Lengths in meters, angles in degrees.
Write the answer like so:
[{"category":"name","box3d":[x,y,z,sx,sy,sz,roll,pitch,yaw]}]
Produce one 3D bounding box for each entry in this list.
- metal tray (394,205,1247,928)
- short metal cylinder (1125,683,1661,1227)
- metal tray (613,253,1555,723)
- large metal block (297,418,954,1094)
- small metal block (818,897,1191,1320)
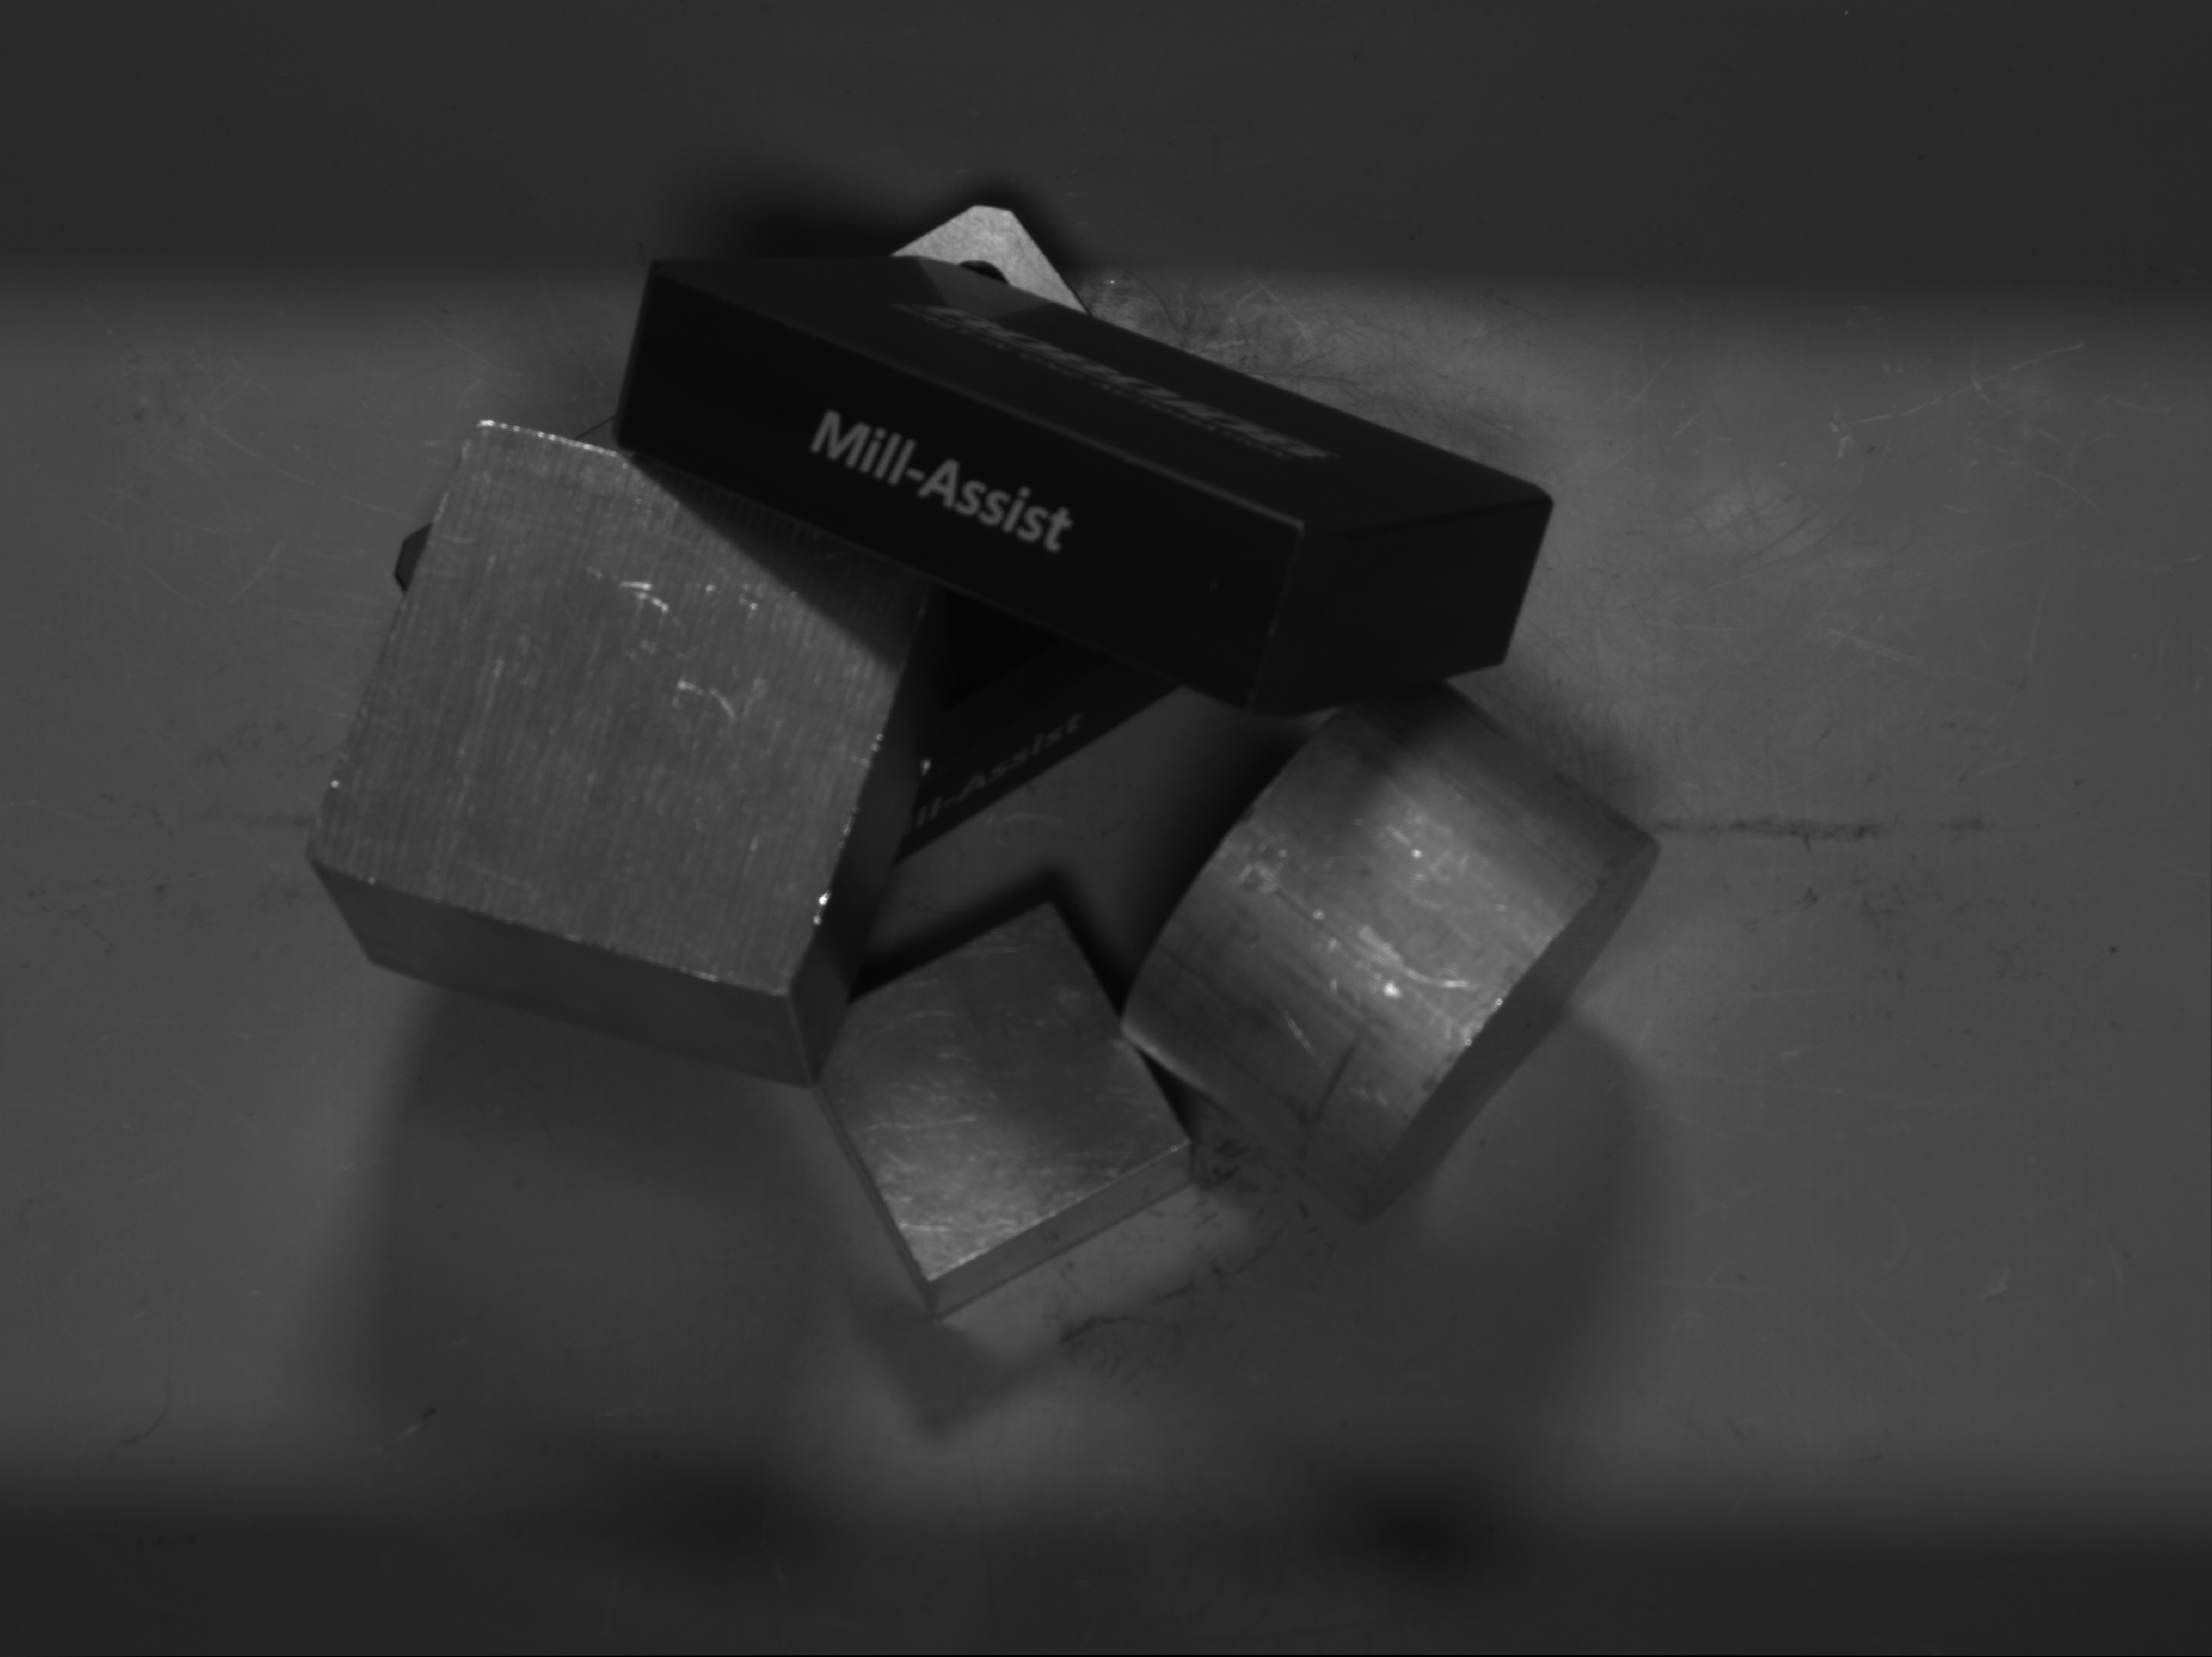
[{"category":"metal tray","box3d":[-0.049,-0.042,0.656,0.130,0.030,0.090,-32,73,-11]},{"category":"short metal cylinder","box3d":[0.048,0.019,0.608,0.050,0.080,0.080,38,74,13]},{"category":"metal tray","box3d":[-0.003,-0.059,0.600,0.130,0.090,0.030,24,110,24]},{"category":"large metal block","box3d":[-0.075,-0.011,0.600,0.080,0.050,0.080,16,71,6]},{"category":"small metal block","box3d":[-0.020,0.048,0.626,0.050,0.025,0.050,-27,72,-10]}]
